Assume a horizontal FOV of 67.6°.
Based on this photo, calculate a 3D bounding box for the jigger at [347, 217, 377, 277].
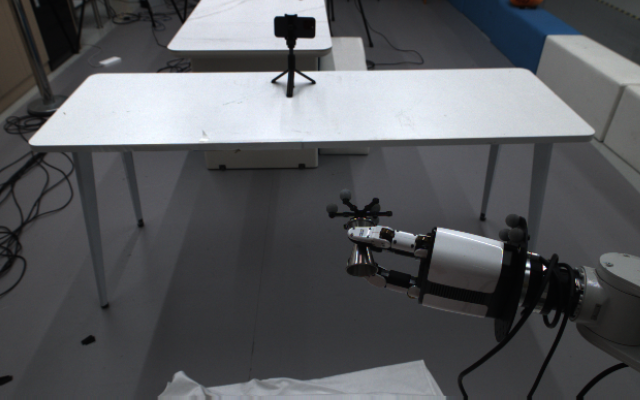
[{"bbox_3d":[0.056,0.060,0.648,0.043,0.043,0.071,2,59,0],"label":"jigger"}]
